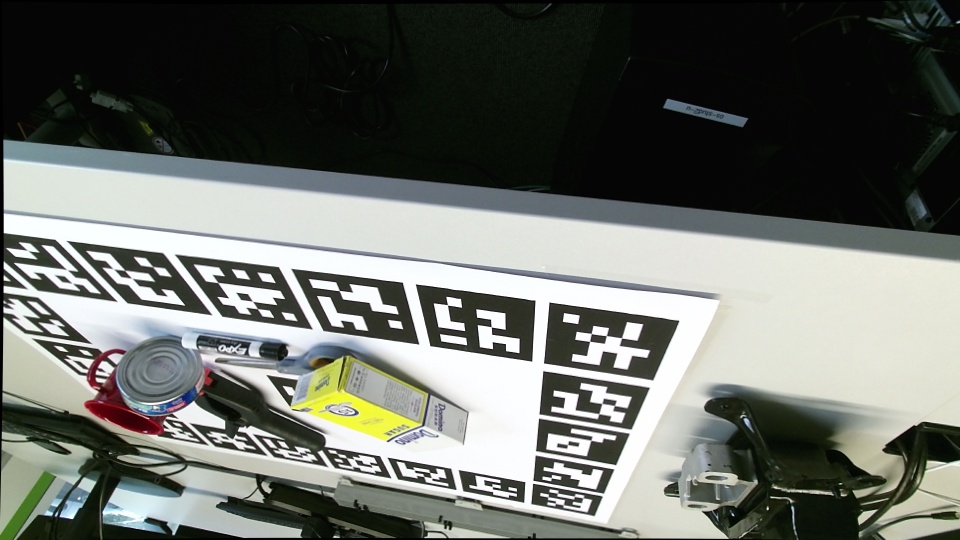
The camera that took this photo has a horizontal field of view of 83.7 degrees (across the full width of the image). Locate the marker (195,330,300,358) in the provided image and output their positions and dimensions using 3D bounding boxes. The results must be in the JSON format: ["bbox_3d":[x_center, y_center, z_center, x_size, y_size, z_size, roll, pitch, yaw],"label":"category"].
[{"bbox_3d":[-0.257,0.082,0.594,0.121,0.019,0.020,4,138,11],"label":"marker"}]

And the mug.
[{"bbox_3d":[-0.418,0.141,0.667,0.093,0.081,0.117,-13,136,29],"label":"mug"}]

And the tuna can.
[{"bbox_3d":[-0.363,0.117,0.614,0.086,0.085,0.034,18,140,-4],"label":"tuna can"}]

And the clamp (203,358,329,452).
[{"bbox_3d":[-0.320,0.191,0.740,0.166,0.036,0.203,0,137,17],"label":"clamp"}]

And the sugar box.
[{"bbox_3d":[-0.108,0.157,0.606,0.093,0.045,0.177,-21,134,35],"label":"sugar box"}]

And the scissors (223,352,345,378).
[{"bbox_3d":[-0.211,0.117,0.616,0.203,0.016,0.088,1,142,18],"label":"scissors"}]
